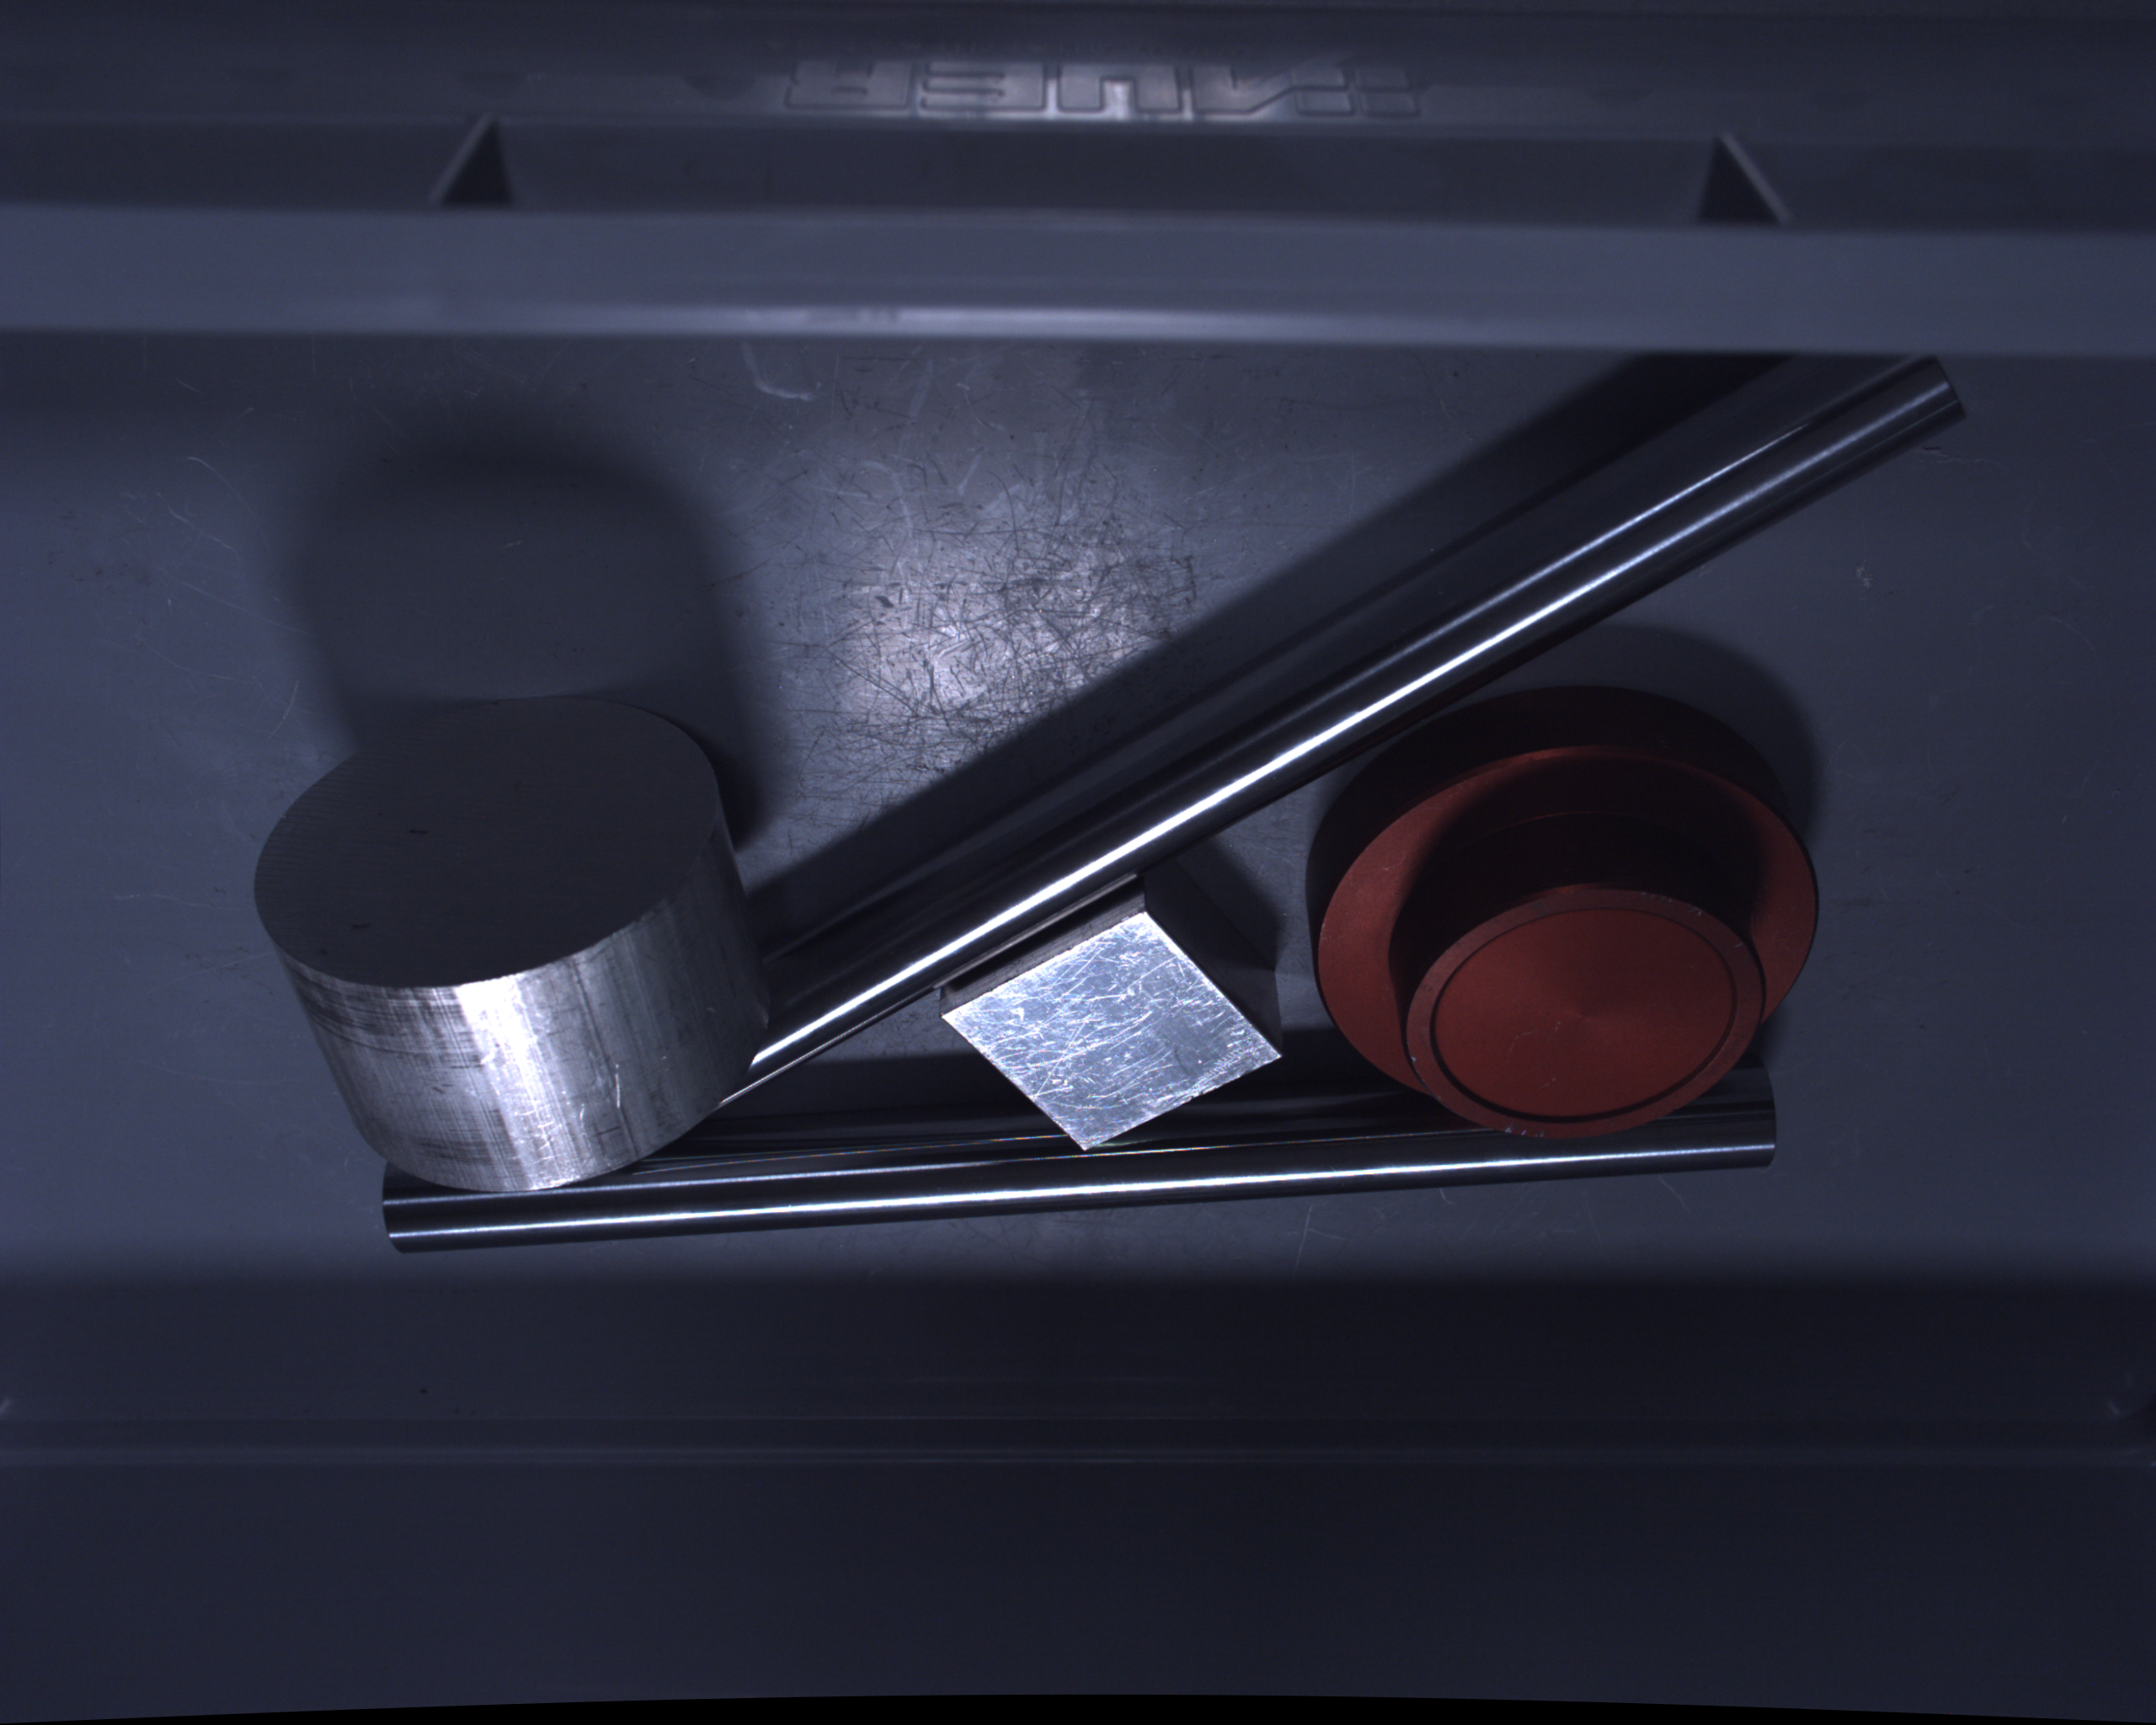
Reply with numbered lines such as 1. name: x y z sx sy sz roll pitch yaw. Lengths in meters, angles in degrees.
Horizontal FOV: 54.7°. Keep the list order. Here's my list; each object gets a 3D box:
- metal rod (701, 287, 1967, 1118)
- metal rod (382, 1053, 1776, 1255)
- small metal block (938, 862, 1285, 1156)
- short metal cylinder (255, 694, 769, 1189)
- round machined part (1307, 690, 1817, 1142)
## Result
1. metal rod: 0.017 -0.015 0.395 0.300 0.025 0.025 -29 125 22
2. metal rod: -0.001 0.065 0.462 0.302 0.025 0.025 -4 130 3
3. small metal block: 0.007 0.028 0.430 0.050 0.025 0.050 -29 125 22
4. short metal cylinder: -0.101 0.013 0.381 0.080 0.080 0.050 -4 130 3
5. round machined part: 0.095 0.017 0.410 0.099 0.042 0.097 -1 130 0
